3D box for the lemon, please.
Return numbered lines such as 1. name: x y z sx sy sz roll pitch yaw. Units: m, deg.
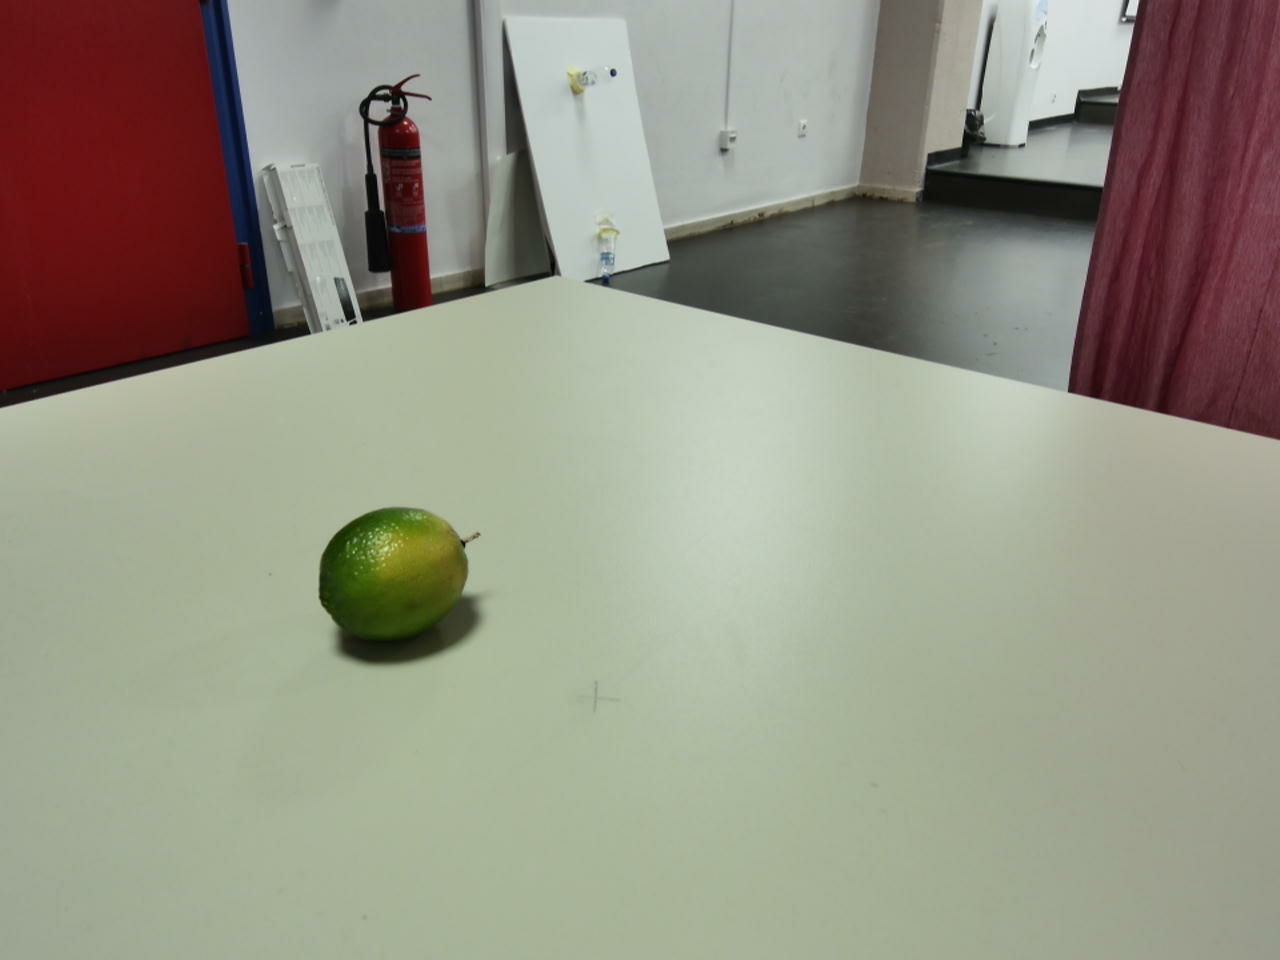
1. lemon: -0.096 0.036 0.388 0.055 0.050 0.054 1 23 -1
